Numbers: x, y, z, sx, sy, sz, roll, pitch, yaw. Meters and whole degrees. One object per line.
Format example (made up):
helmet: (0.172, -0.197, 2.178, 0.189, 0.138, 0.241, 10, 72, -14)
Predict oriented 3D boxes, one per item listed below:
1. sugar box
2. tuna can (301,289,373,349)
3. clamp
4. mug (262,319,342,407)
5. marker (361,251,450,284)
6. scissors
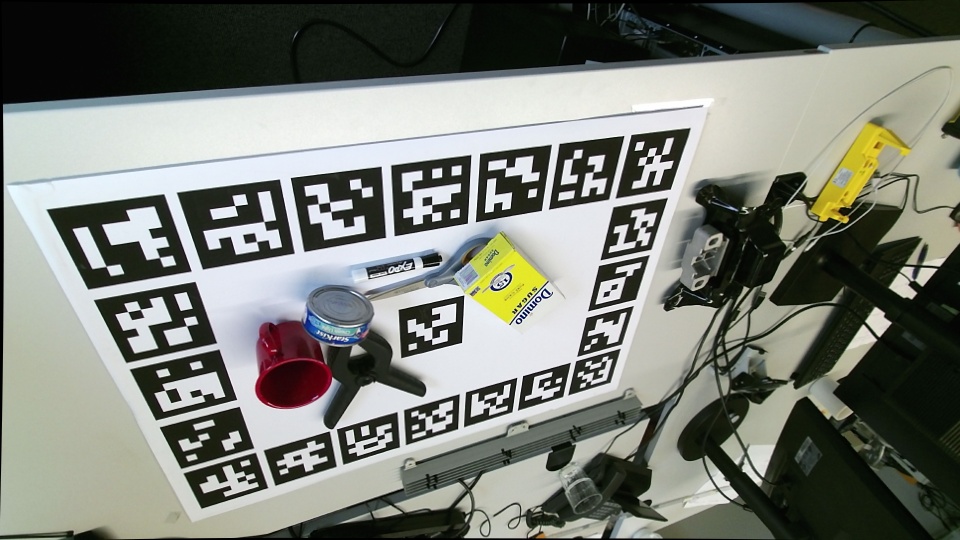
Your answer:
sugar box: (0.047, 0.030, 0.799, 0.093, 0.045, 0.177, -40, 138, 5)
tuna can: (-0.182, 0.060, 0.686, 0.086, 0.085, 0.034, 4, 121, -29)
clamp: (-0.174, 0.153, 0.805, 0.166, 0.036, 0.203, -19, 129, -13)
mug: (-0.242, 0.112, 0.700, 0.093, 0.081, 0.117, -33, 135, -2)
marker: (-0.099, -0.004, 0.724, 0.121, 0.019, 0.019, -14, 128, -18)
scissors: (-0.057, 0.022, 0.762, 0.203, 0.016, 0.088, -19, 134, -11)
